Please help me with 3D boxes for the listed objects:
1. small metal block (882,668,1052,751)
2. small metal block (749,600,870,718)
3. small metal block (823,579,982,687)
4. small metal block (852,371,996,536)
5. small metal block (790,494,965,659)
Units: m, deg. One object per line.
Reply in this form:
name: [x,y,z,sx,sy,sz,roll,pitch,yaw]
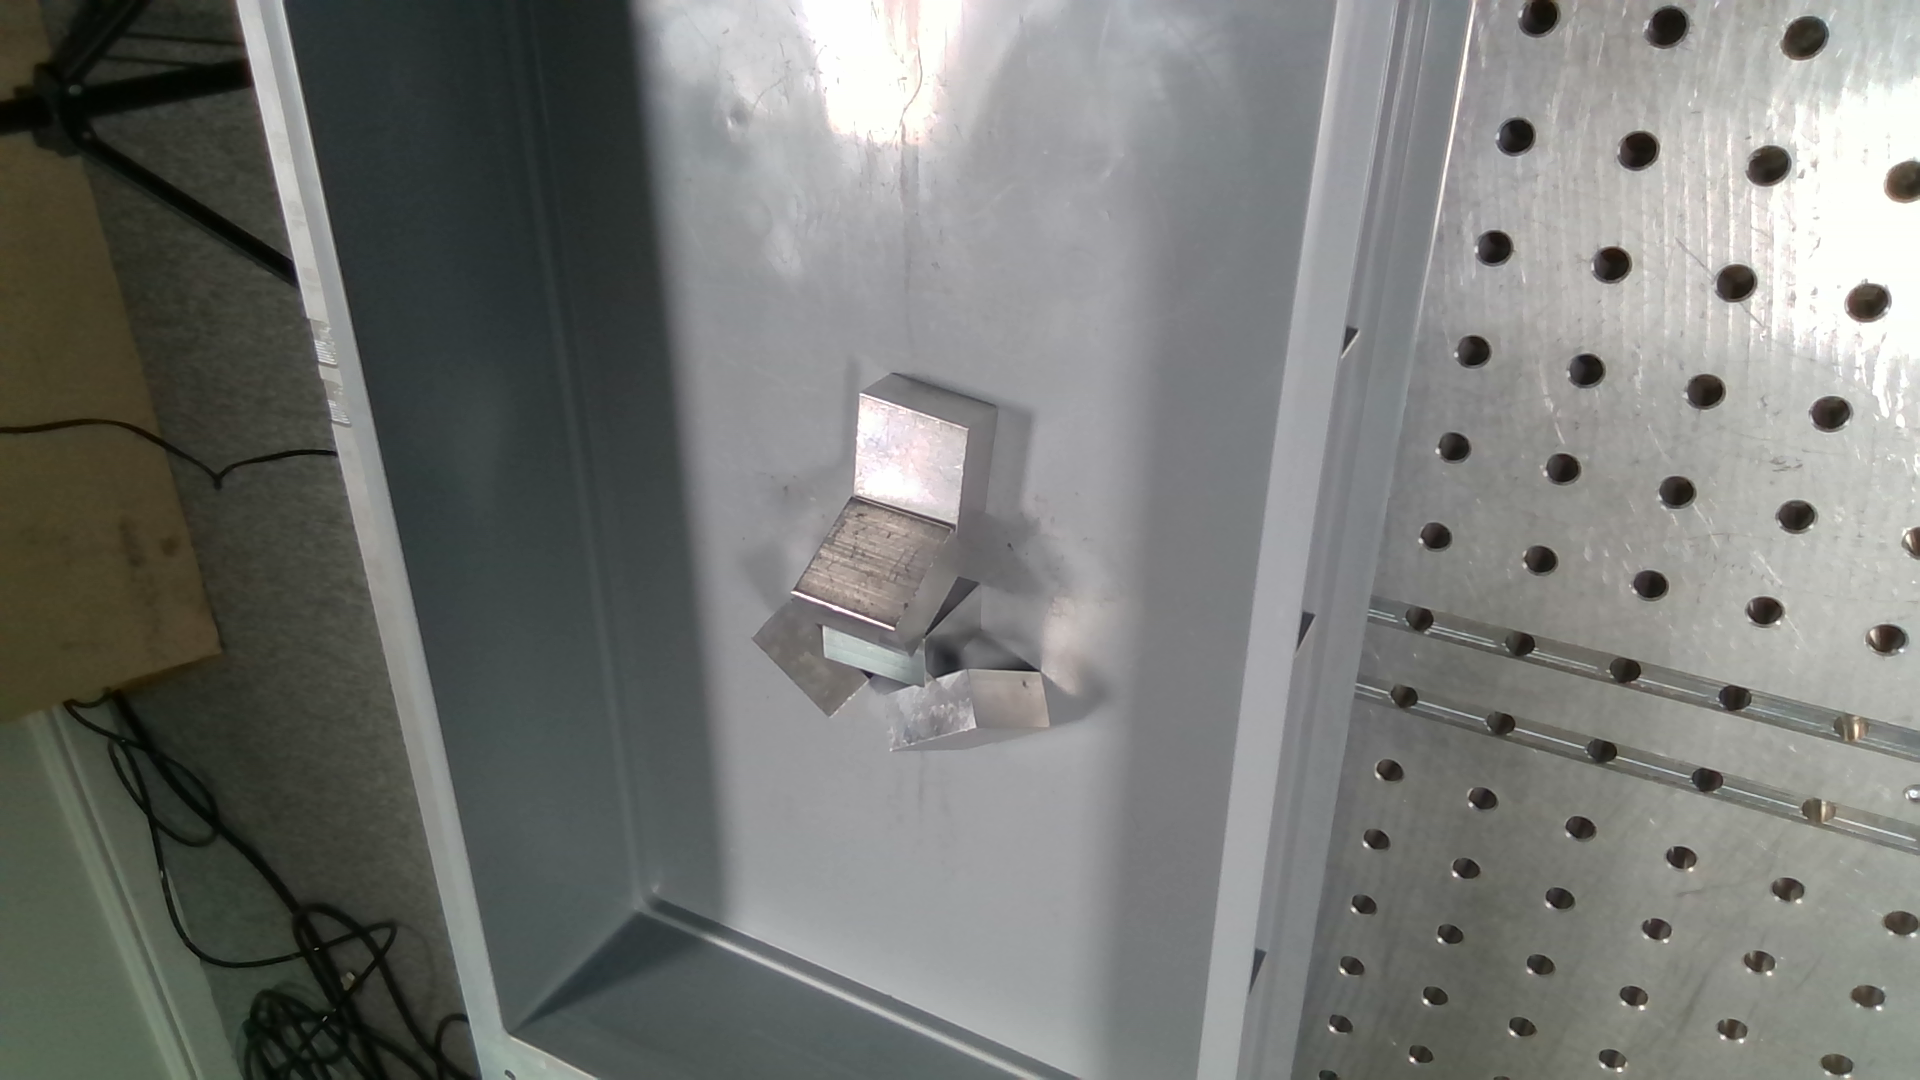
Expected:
small metal block: [0.003,0.074,0.598,0.050,0.050,0.025,-21,71,38]
small metal block: [-0.064,0.051,0.626,0.025,0.050,0.050,-44,89,4]
small metal block: [-0.025,0.034,0.596,0.050,0.050,0.025,15,122,24]
small metal block: [-0.016,-0.036,0.567,0.050,0.025,0.050,20,124,21]
small metal block: [-0.033,0.014,0.567,0.050,0.050,0.025,18,155,26]
